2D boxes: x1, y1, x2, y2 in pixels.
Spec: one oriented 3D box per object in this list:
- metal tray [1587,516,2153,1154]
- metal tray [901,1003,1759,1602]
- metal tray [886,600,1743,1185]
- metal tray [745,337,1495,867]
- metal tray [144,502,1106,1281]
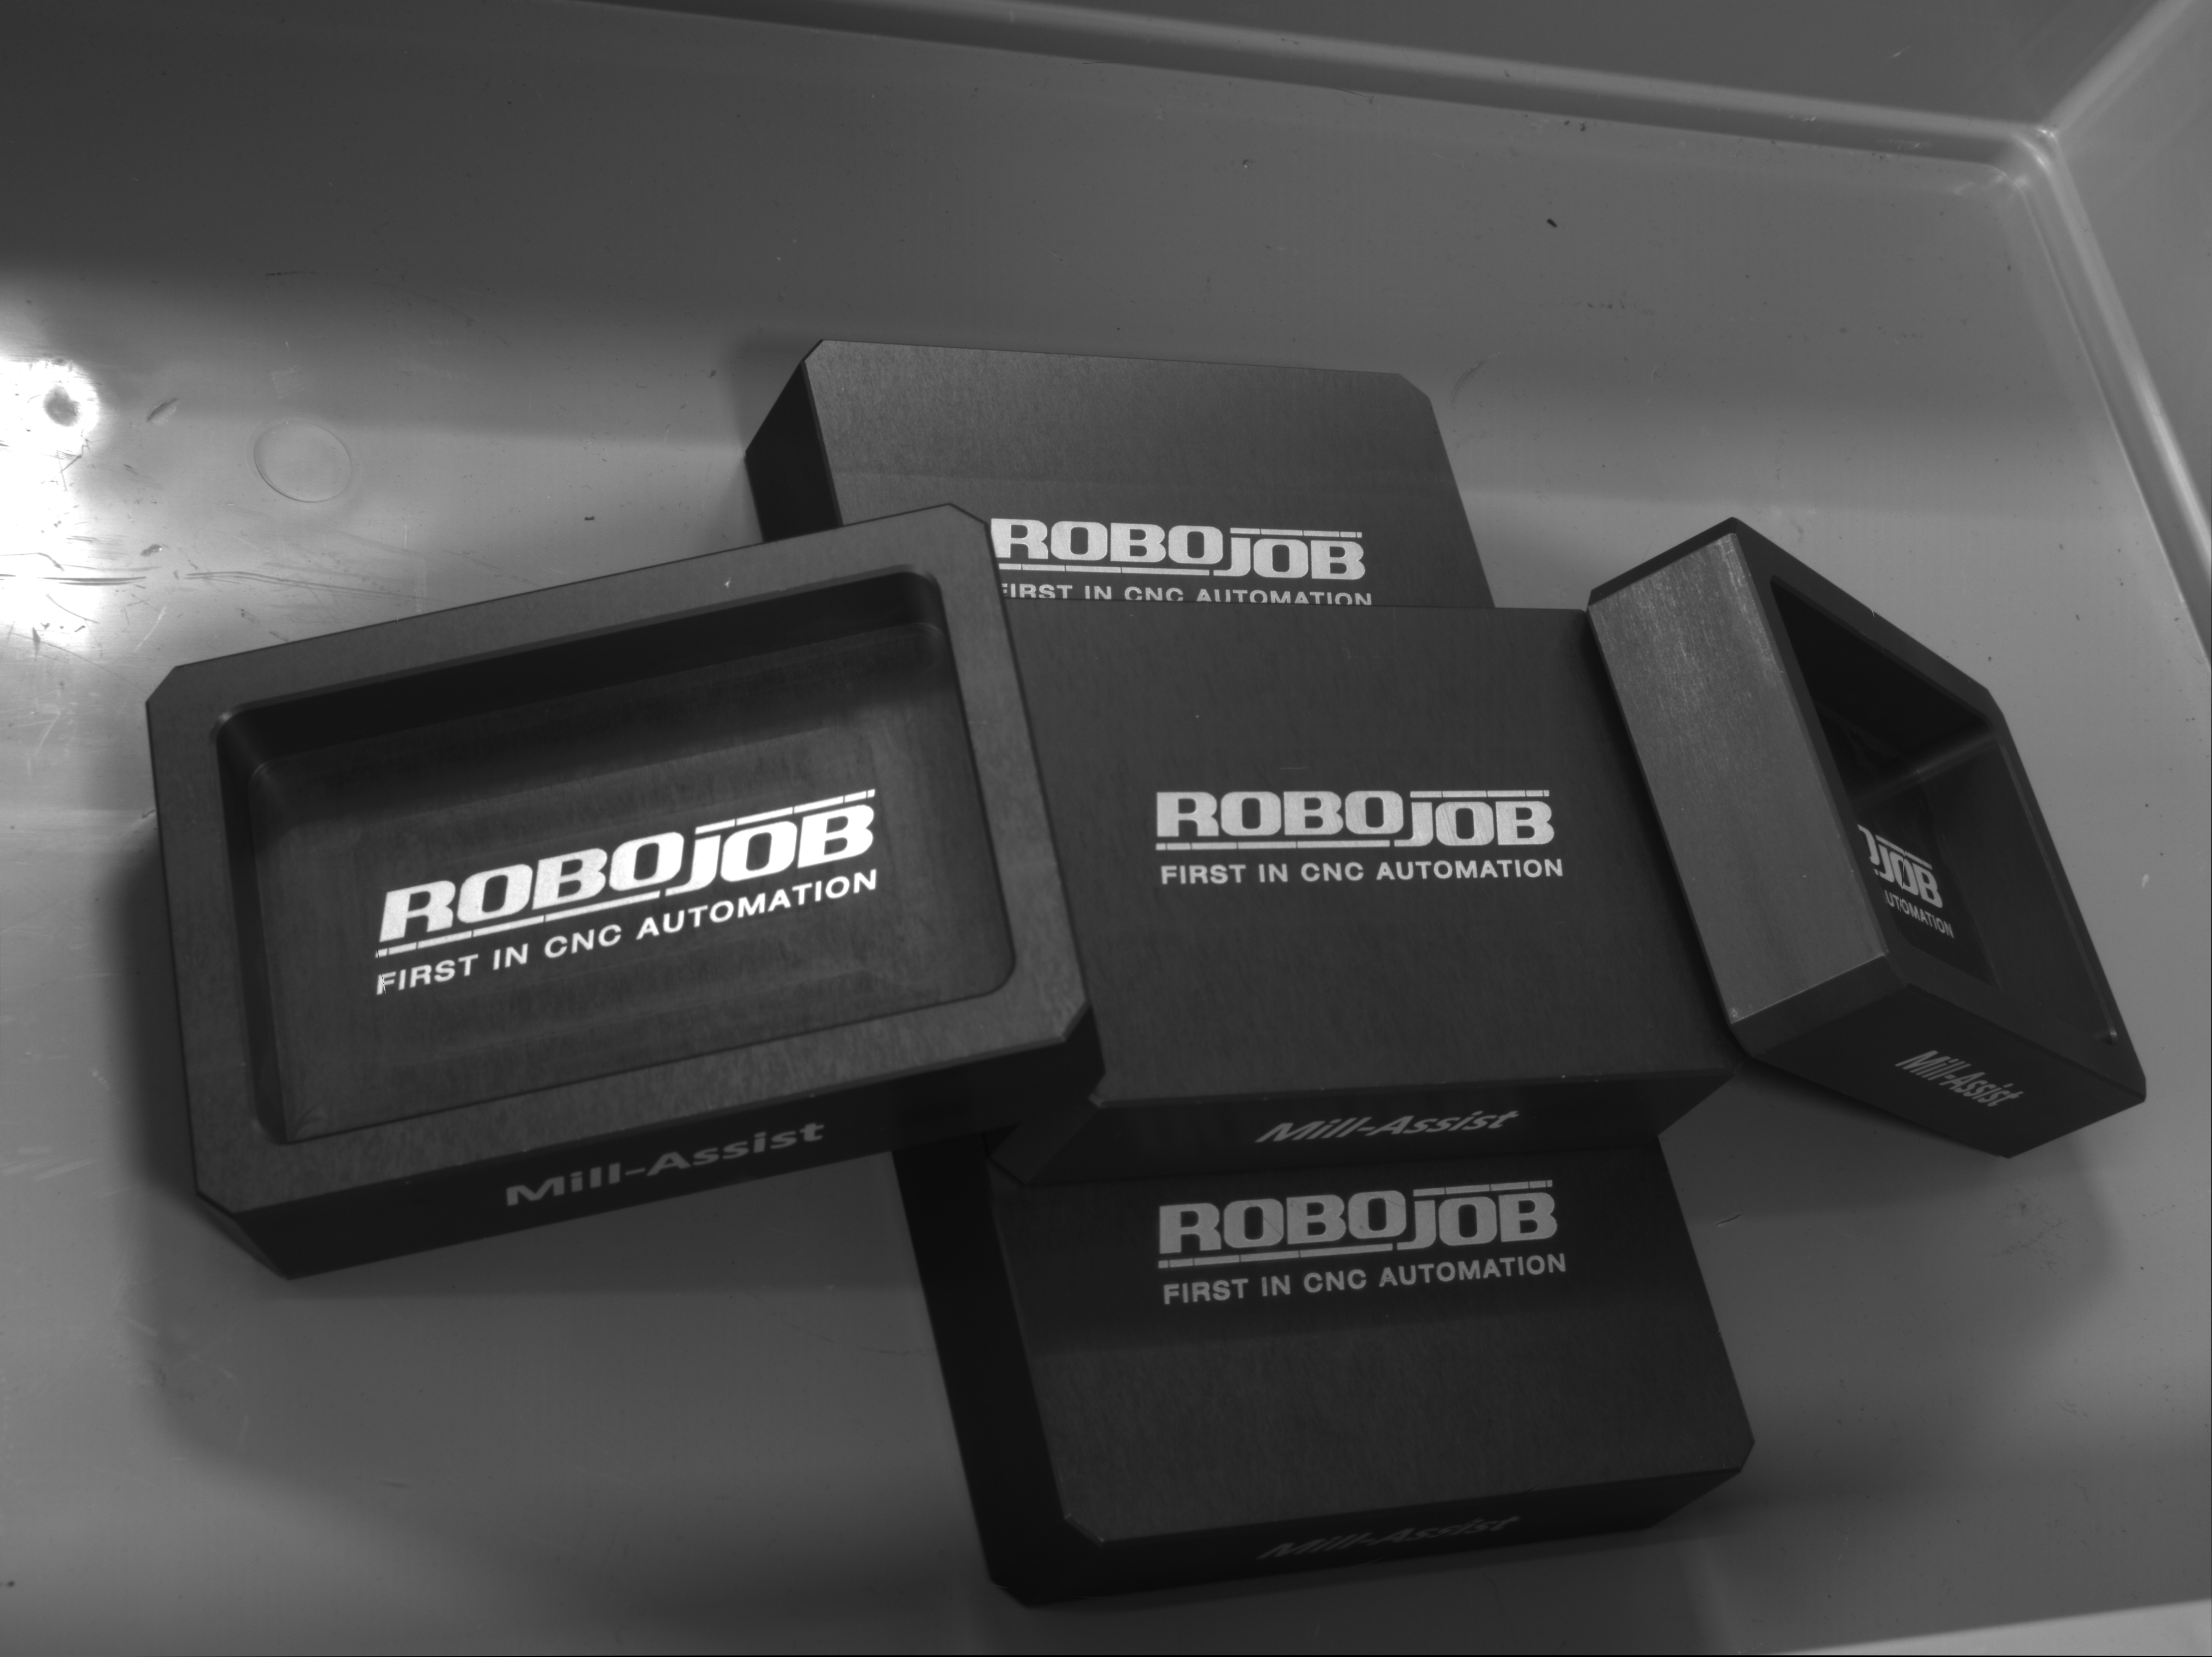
[{"bbox_3d":[0.141,0.004,0.667,0.130,0.030,0.090,20,48,-53],"label":"metal tray"},{"bbox_3d":[0.037,0.074,0.607,0.130,0.030,0.090,0,62,-29],"label":"metal tray"},{"bbox_3d":[0.036,0.009,0.609,0.130,0.030,0.090,-1,62,-29],"label":"metal tray"},{"bbox_3d":[0.008,-0.040,0.661,0.130,0.030,0.090,0,62,-29],"label":"metal tray"},{"bbox_3d":[-0.073,0.009,0.551,0.130,0.030,0.090,-12,66,-1],"label":"metal tray"}]
